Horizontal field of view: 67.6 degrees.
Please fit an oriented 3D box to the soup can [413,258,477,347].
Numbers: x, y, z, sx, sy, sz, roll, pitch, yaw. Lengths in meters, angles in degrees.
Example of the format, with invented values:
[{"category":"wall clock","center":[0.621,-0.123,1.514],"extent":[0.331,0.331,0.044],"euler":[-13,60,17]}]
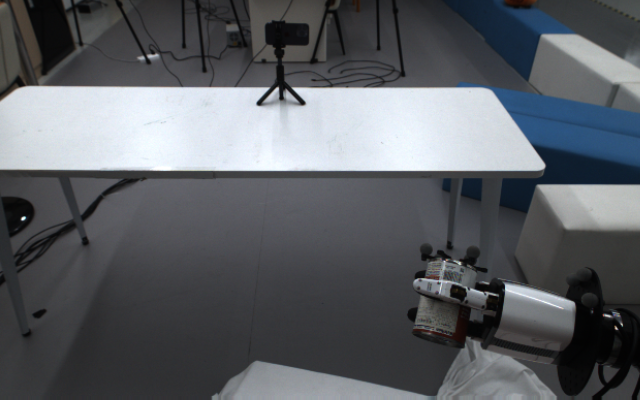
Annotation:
[{"category":"soup can","center":[0.167,0.133,0.637],"extent":[0.067,0.067,0.101],"euler":[12,69,14]}]
